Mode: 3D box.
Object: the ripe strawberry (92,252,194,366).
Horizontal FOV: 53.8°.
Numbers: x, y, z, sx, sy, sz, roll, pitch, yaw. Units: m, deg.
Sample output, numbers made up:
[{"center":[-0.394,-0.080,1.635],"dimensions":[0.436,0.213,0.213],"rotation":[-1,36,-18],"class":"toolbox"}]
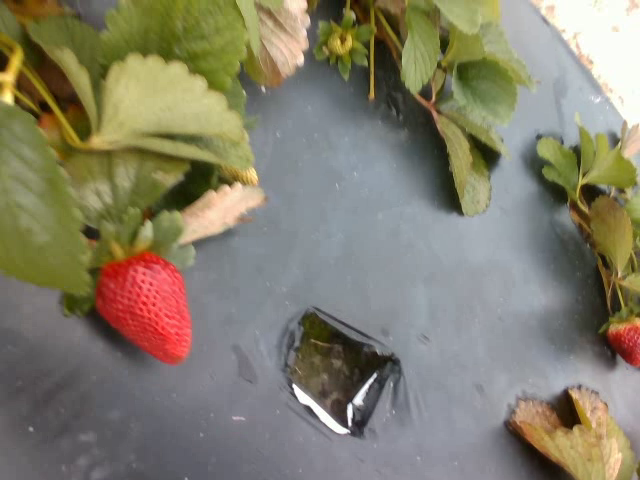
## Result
[{"center":[-0.084,0.035,0.291],"dimensions":[0.046,0.064,0.049],"rotation":[-36,-17,19],"class":"ripe strawberry"}]
